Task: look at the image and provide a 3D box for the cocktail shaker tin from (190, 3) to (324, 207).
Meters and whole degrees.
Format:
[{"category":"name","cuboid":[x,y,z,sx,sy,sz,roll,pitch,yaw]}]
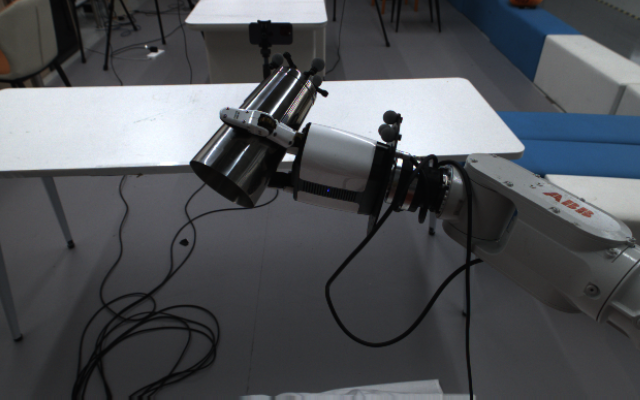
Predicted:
[{"category":"cocktail shaker tin","cuboid":[-0.075,-0.090,0.606,0.093,0.093,0.170,22,67,26]}]
